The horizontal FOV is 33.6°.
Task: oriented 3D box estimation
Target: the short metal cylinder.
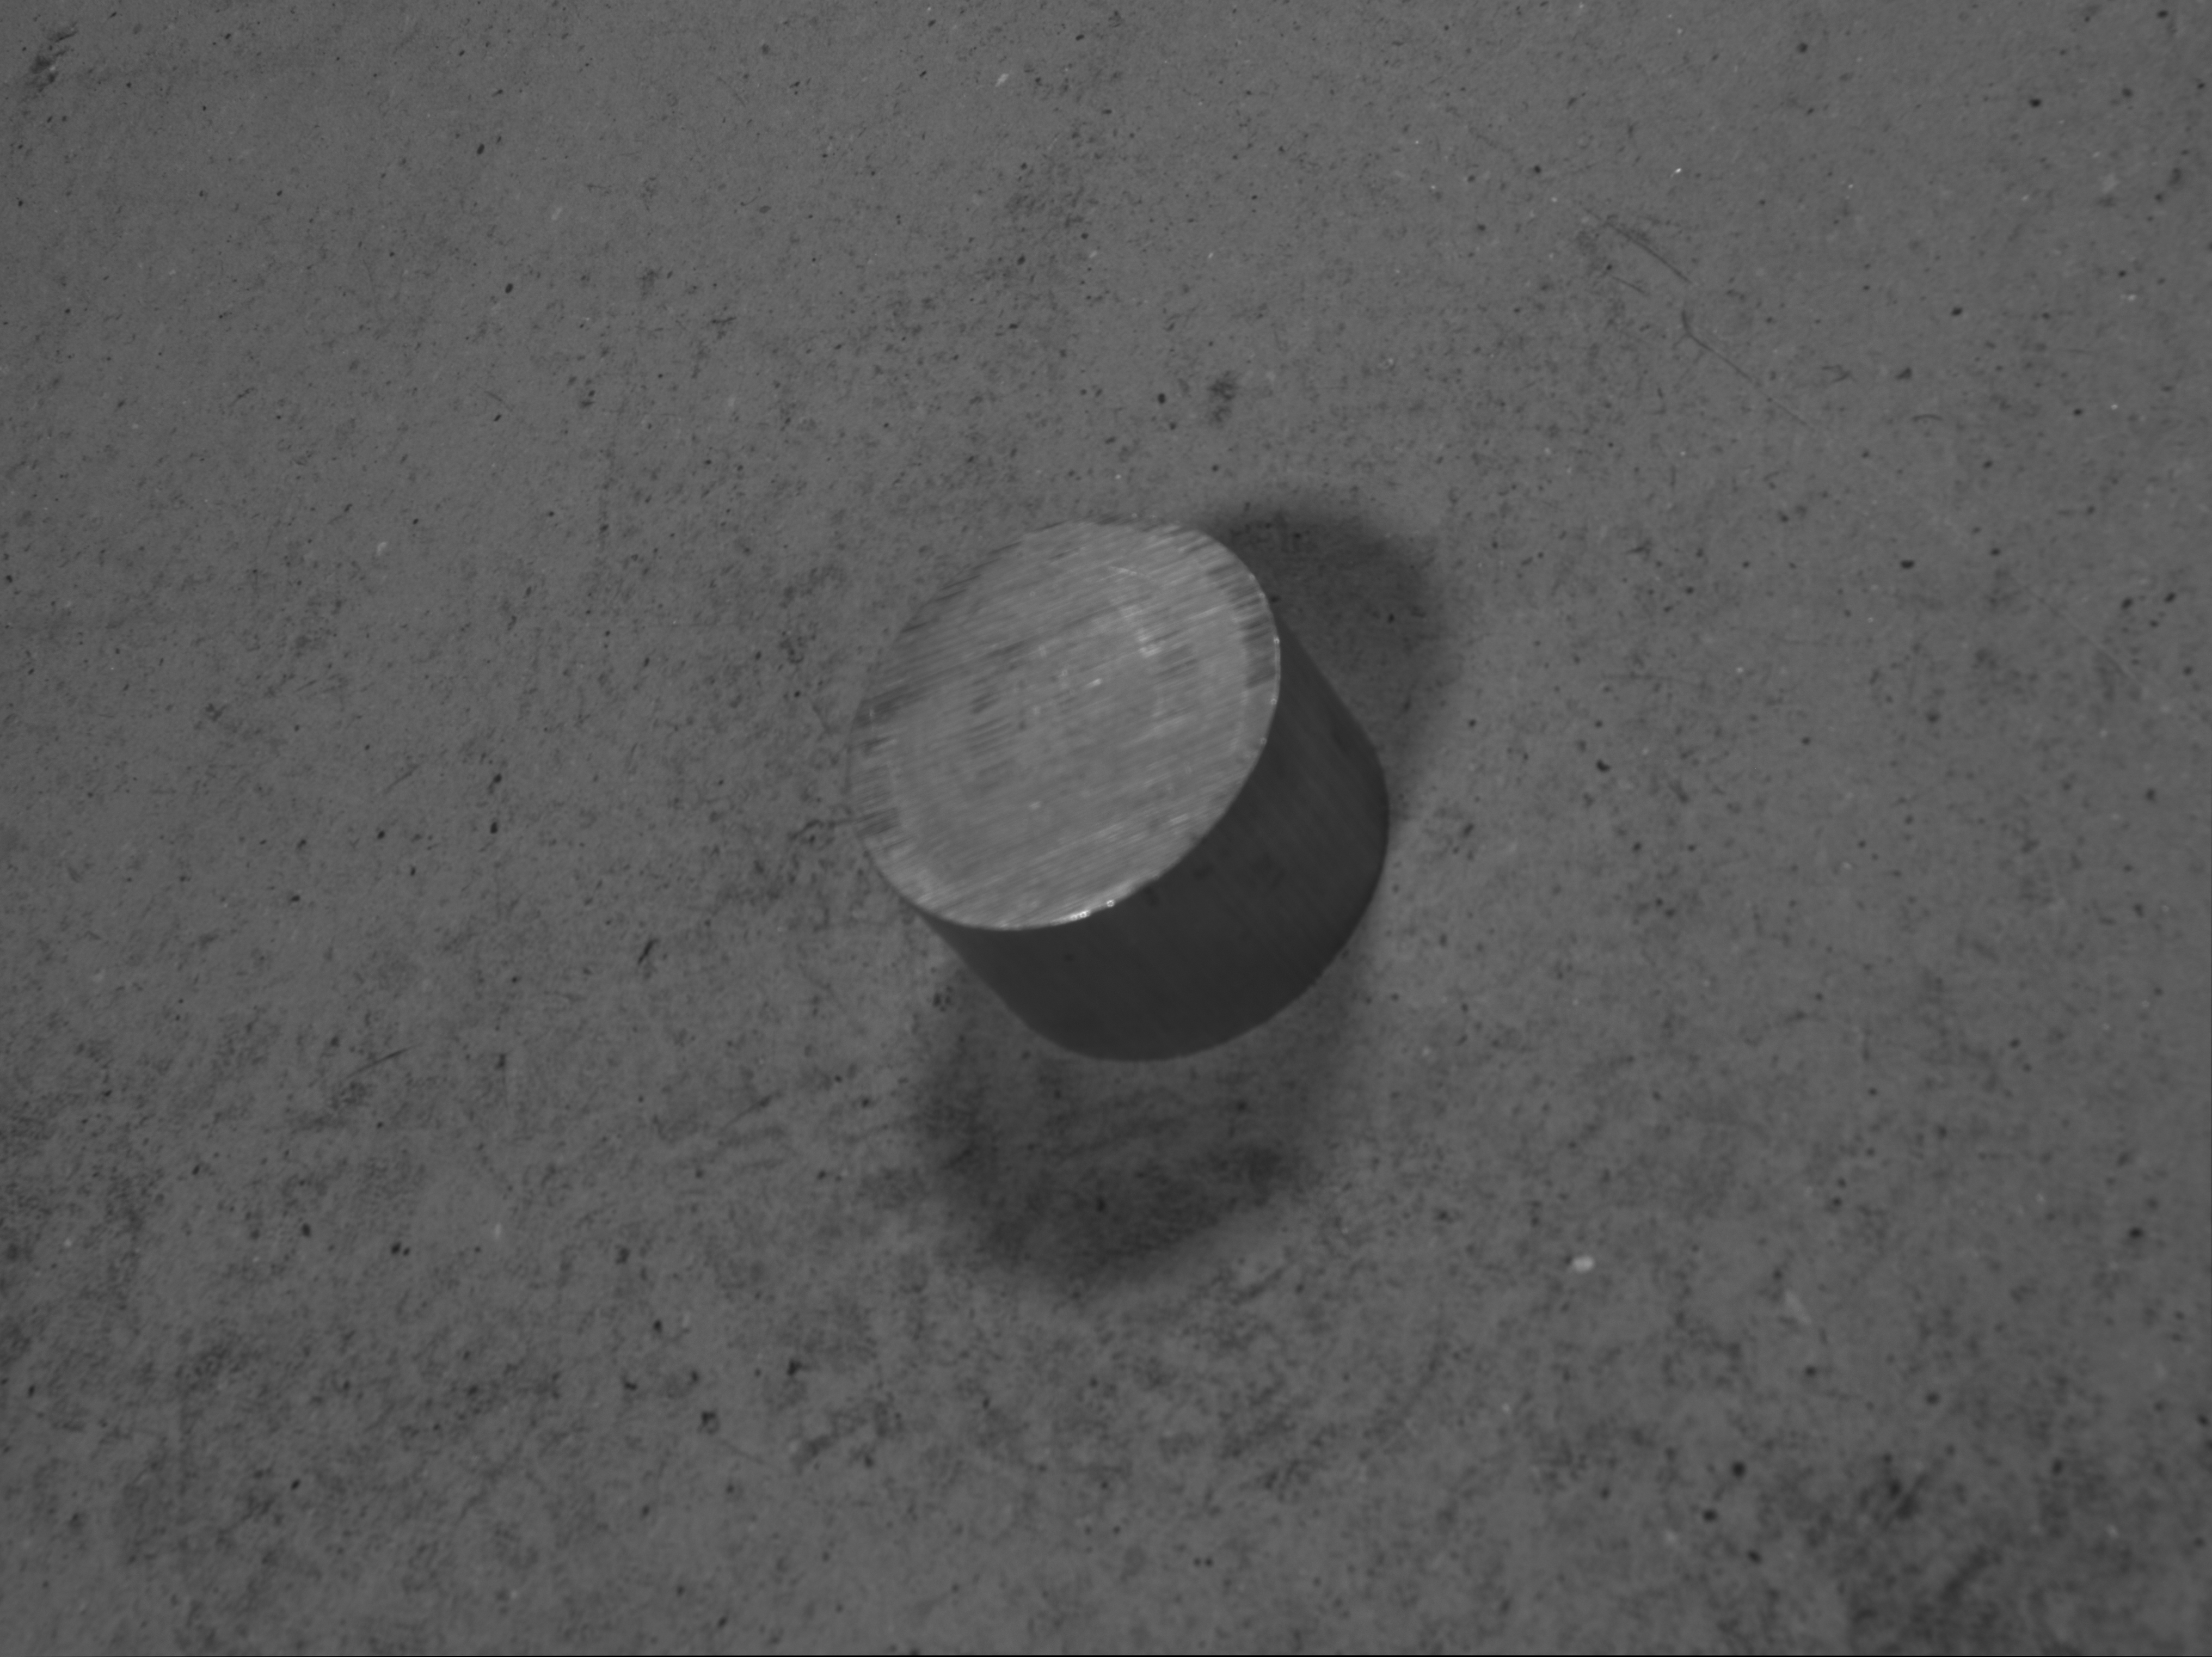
[{"bbox_3d":[0.005,-0.007,0.630,0.080,0.050,0.080,-13,56,21],"label":"short metal cylinder"}]
